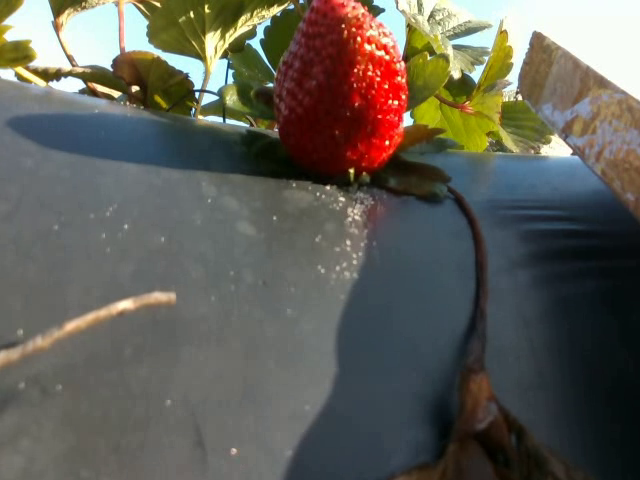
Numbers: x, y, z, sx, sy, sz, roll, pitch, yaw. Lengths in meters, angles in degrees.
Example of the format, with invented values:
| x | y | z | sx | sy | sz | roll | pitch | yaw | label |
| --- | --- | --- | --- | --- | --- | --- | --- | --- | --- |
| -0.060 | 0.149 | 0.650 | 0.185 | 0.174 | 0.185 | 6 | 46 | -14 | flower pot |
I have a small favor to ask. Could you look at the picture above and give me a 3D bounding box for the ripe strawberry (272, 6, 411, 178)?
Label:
| x | y | z | sx | sy | sz | roll | pitch | yaw | label |
| --- | --- | --- | --- | --- | --- | --- | --- | --- | --- |
| 0.002 | -0.013 | 0.050 | 0.016 | 0.015 | 0.022 | 12 | -20 | 0 | ripe strawberry |
